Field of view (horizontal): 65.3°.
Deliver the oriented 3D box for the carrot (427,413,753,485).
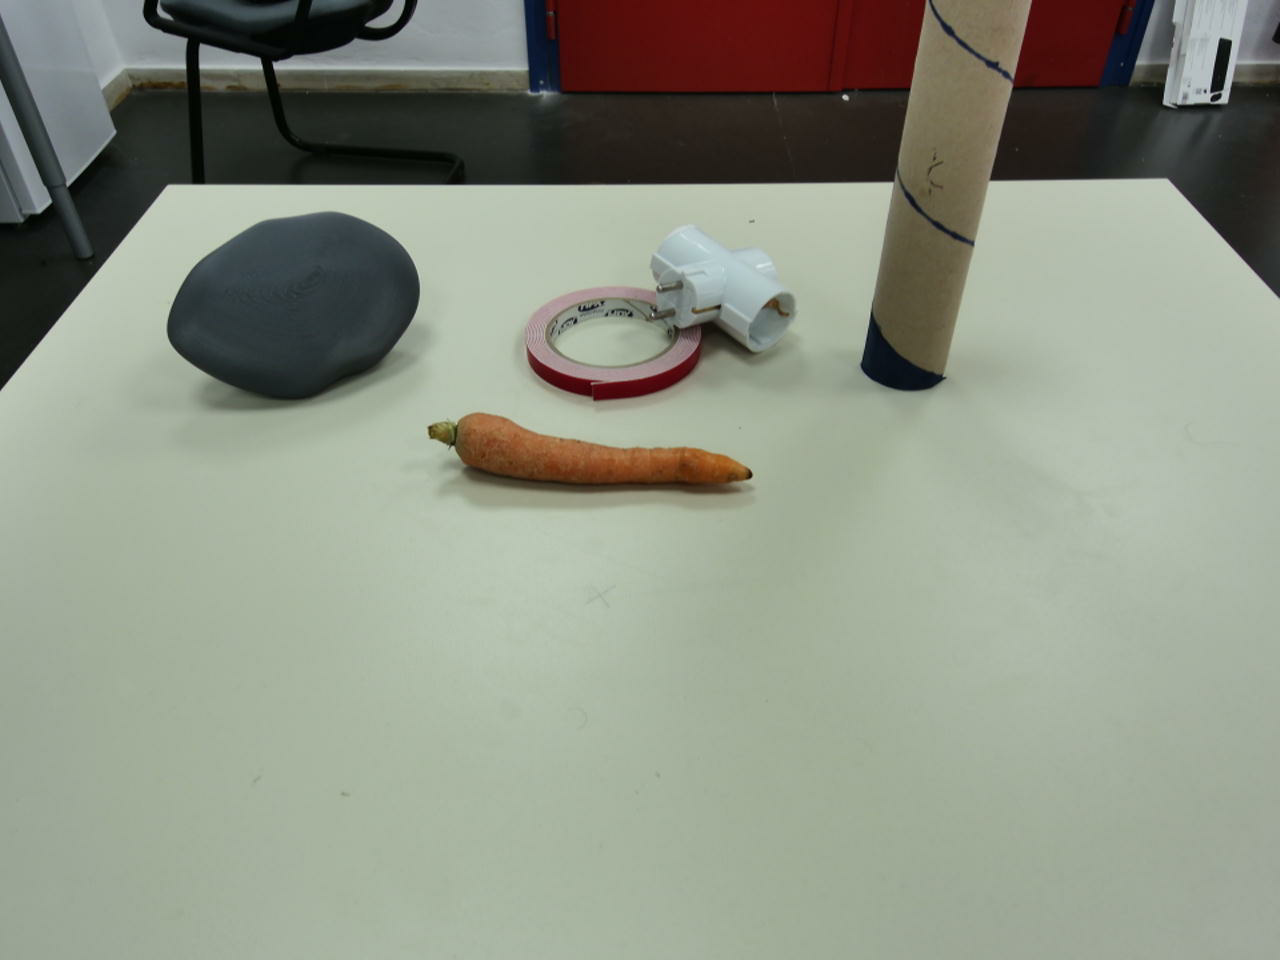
[{"bbox_3d":[-0.027,-0.014,0.524,0.173,0.032,0.030,6,39,7],"label":"carrot"}]
